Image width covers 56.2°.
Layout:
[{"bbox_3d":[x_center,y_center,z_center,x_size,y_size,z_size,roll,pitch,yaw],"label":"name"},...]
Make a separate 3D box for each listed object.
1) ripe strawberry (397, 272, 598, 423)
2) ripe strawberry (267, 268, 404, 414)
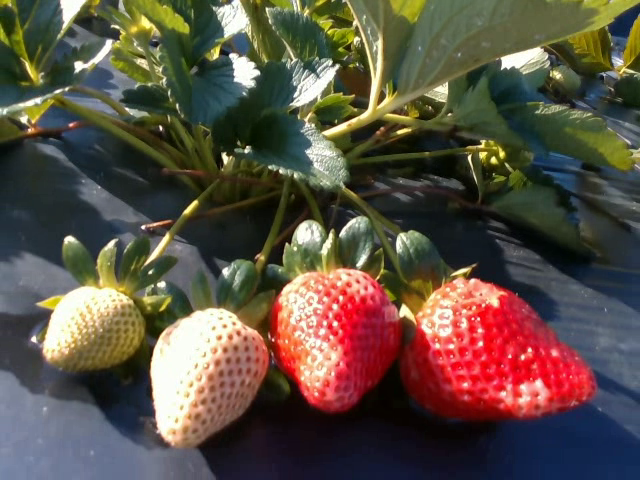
[{"bbox_3d":[0.057,0.036,0.181,0.056,0.052,0.067,-42,37,-24],"label":"ripe strawberry"},{"bbox_3d":[0.004,0.029,0.171,0.050,0.044,0.061,35,22,-9],"label":"ripe strawberry"}]
